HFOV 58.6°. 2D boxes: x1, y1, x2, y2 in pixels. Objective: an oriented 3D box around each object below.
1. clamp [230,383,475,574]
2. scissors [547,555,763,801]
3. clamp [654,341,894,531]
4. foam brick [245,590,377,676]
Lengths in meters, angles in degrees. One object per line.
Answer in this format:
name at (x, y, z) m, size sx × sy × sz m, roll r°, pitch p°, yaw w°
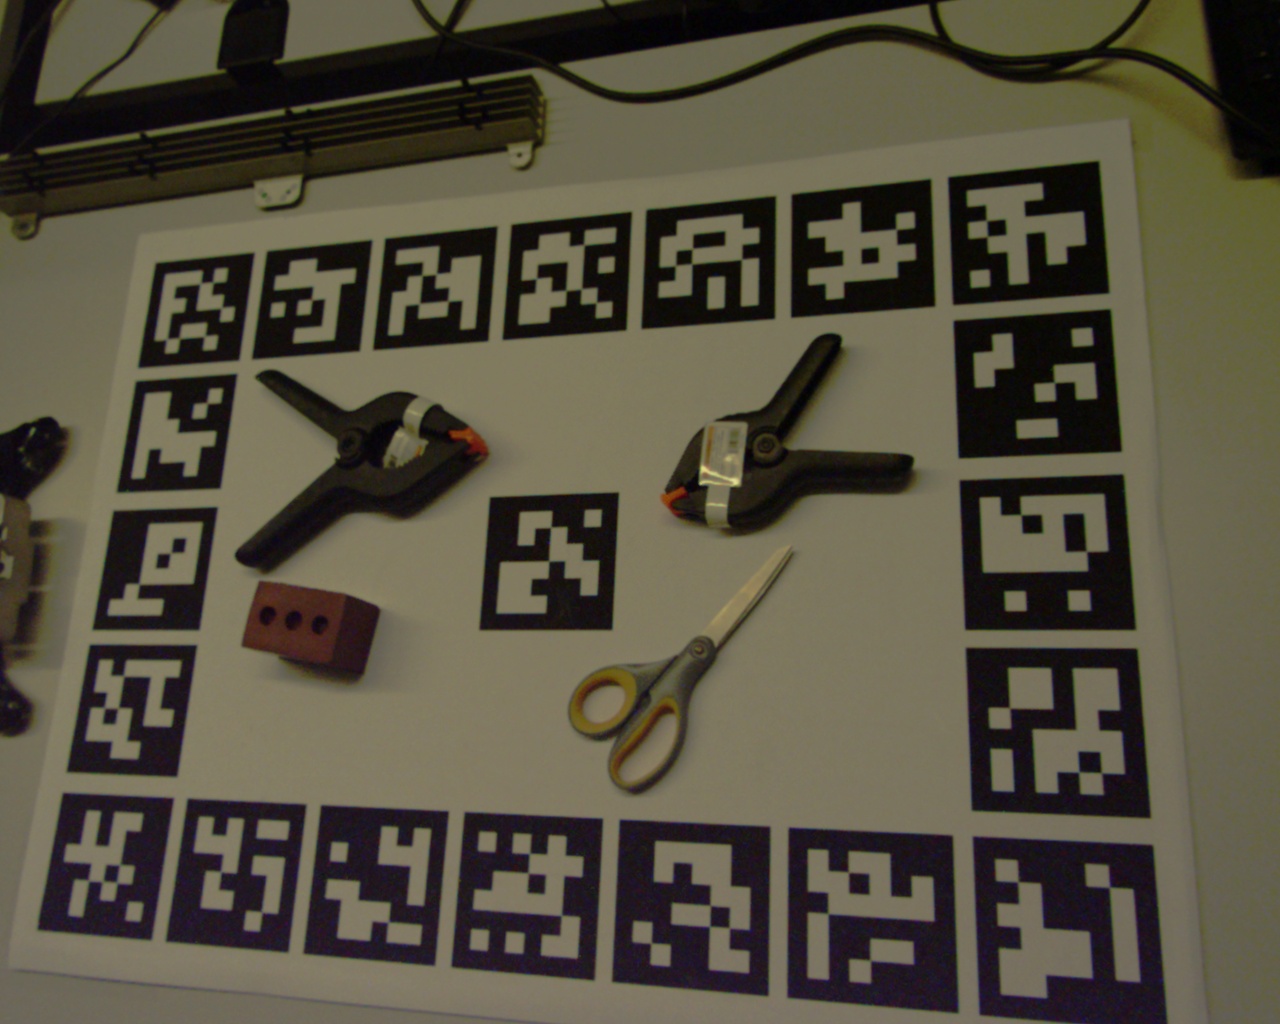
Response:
clamp at (-0.232, -0.037, 0.919) m, size 0.204 × 0.036 × 0.166 m, roll -6°, pitch 71°, yaw 14°
scissors at (0.019, 0.107, 0.812) m, size 0.088 × 0.016 × 0.202 m, roll 40°, pitch 88°, yaw 14°
clamp at (0.084, -0.037, 0.828) m, size 0.165 × 0.036 × 0.122 m, roll -29°, pitch 76°, yaw 8°
foam brick at (-0.255, 0.094, 0.886) m, size 0.079 × 0.051 × 0.053 m, roll 5°, pitch 79°, yaw 22°
